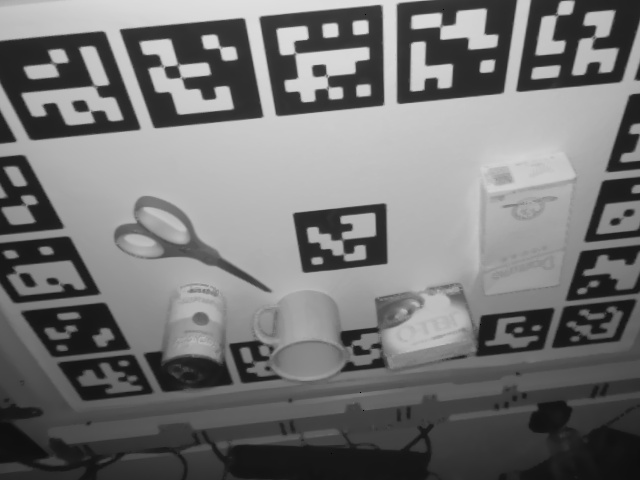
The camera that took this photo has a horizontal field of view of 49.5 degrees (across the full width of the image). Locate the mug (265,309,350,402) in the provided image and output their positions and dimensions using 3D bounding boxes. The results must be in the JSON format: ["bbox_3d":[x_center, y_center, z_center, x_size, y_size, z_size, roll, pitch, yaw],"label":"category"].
[{"bbox_3d":[-0.022,0.131,0.835,0.092,0.082,0.118,-36,127,21],"label":"mug"}]

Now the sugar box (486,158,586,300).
[{"bbox_3d":[0.235,-0.003,0.770,0.093,0.045,0.175,-9,131,0],"label":"sugar box"}]

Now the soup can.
[{"bbox_3d":[-0.141,0.115,0.804,0.068,0.103,0.067,-4,134,-3],"label":"soup can"}]

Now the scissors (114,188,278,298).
[{"bbox_3d":[-0.127,0.020,0.766,0.204,0.016,0.087,34,111,-29],"label":"scissors"}]

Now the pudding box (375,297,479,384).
[{"bbox_3d":[0.127,0.121,0.831,0.113,0.090,0.038,-12,126,6],"label":"pudding box"}]
